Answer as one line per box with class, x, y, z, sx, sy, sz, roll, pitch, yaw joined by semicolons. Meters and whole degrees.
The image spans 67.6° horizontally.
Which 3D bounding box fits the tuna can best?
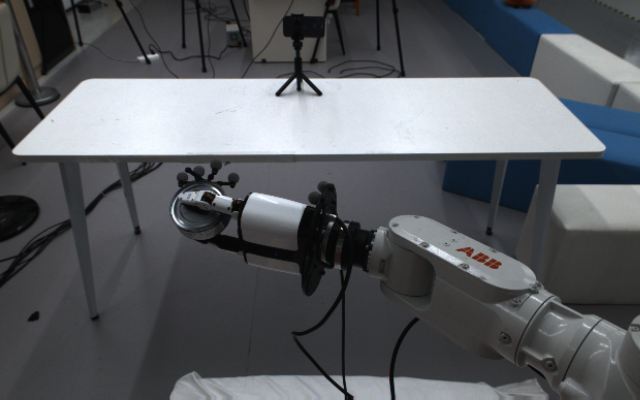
tuna can;-0.171;0.017;0.715;0.085;0.034;0.085;-1;57;2
